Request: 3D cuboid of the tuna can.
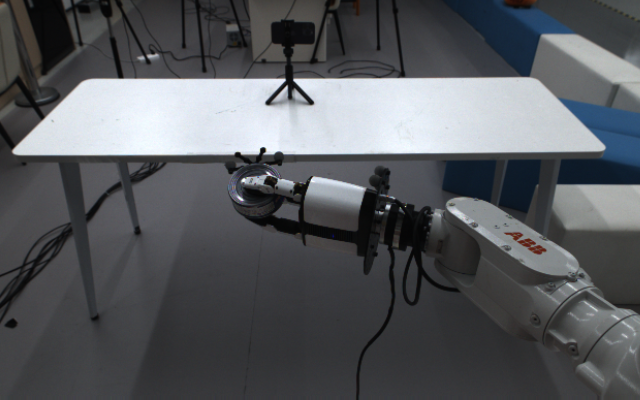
[{"bbox_3d":[-0.095,-0.009,0.752,0.085,0.034,0.085,-3,58,5],"label":"tuna can"}]
